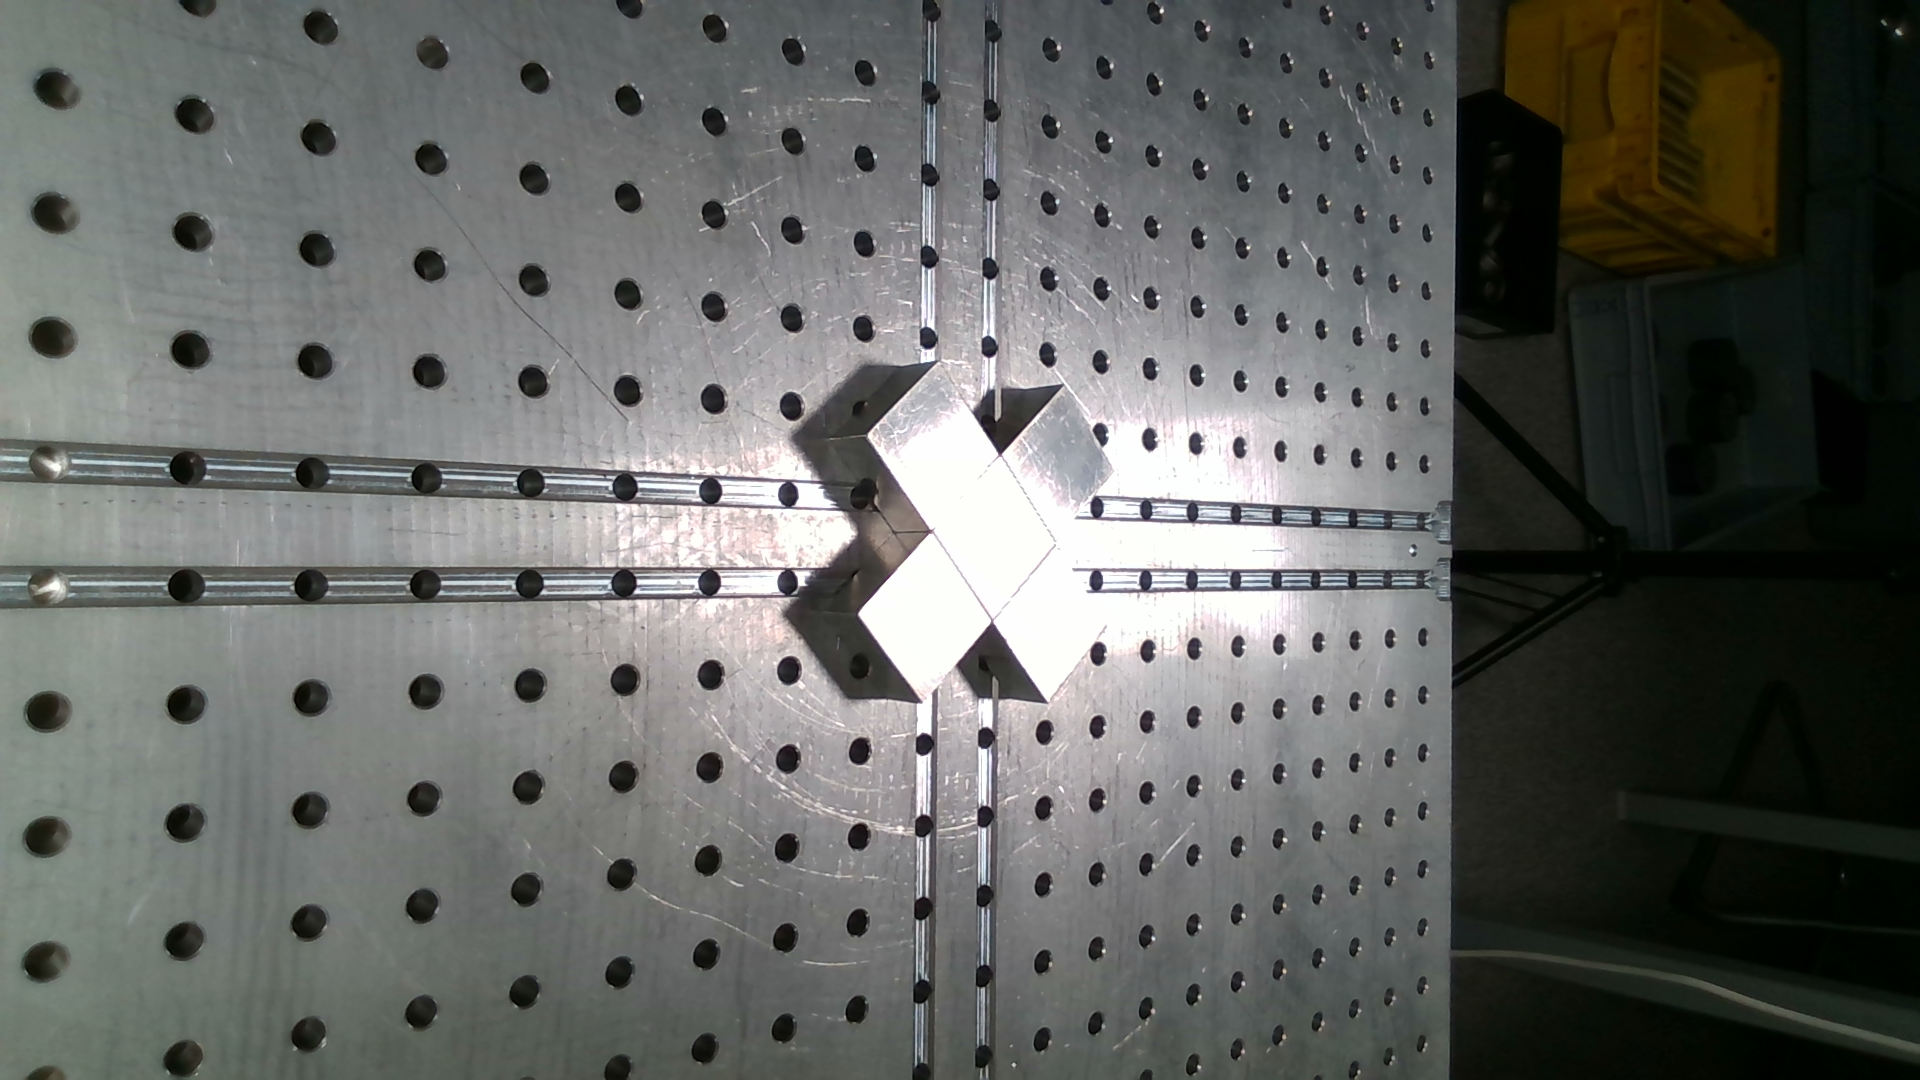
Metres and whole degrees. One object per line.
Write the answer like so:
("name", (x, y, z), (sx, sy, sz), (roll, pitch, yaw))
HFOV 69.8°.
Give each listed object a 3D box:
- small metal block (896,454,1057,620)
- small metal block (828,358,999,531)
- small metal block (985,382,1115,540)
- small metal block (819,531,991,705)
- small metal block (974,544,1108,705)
("small metal block", (0.008, -0.001, 0.591), (0.050, 0.025, 0.050), (-49, 119, -29))
("small metal block", (-0.019, -0.039, 0.570), (0.050, 0.025, 0.050), (-49, 119, -29))
("small metal block", (0.036, -0.034, 0.616), (0.050, 0.025, 0.050), (-49, 119, -29))
("small metal block", (-0.022, 0.032, 0.568), (0.050, 0.025, 0.050), (-49, 119, -29))
("small metal block", (0.032, 0.037, 0.613), (0.050, 0.025, 0.050), (-49, 119, -29))
